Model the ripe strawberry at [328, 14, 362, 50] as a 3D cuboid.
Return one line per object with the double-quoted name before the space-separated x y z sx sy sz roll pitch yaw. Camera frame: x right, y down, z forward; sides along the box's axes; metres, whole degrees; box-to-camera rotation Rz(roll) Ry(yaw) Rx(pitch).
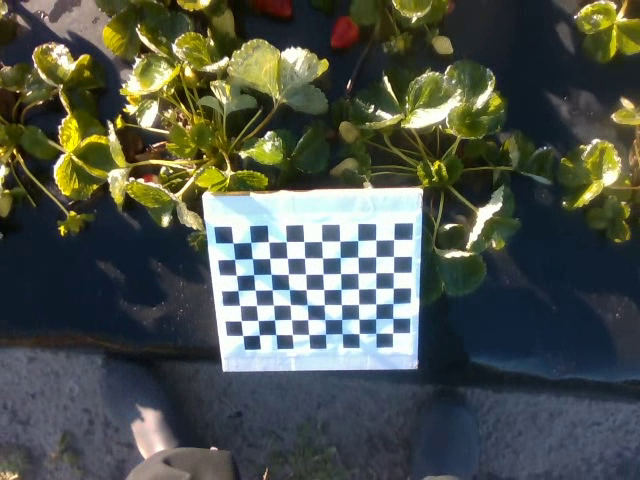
"ripe strawberry" 0.028 -0.249 0.757 0.039 0.047 0.040 36 2 -12
